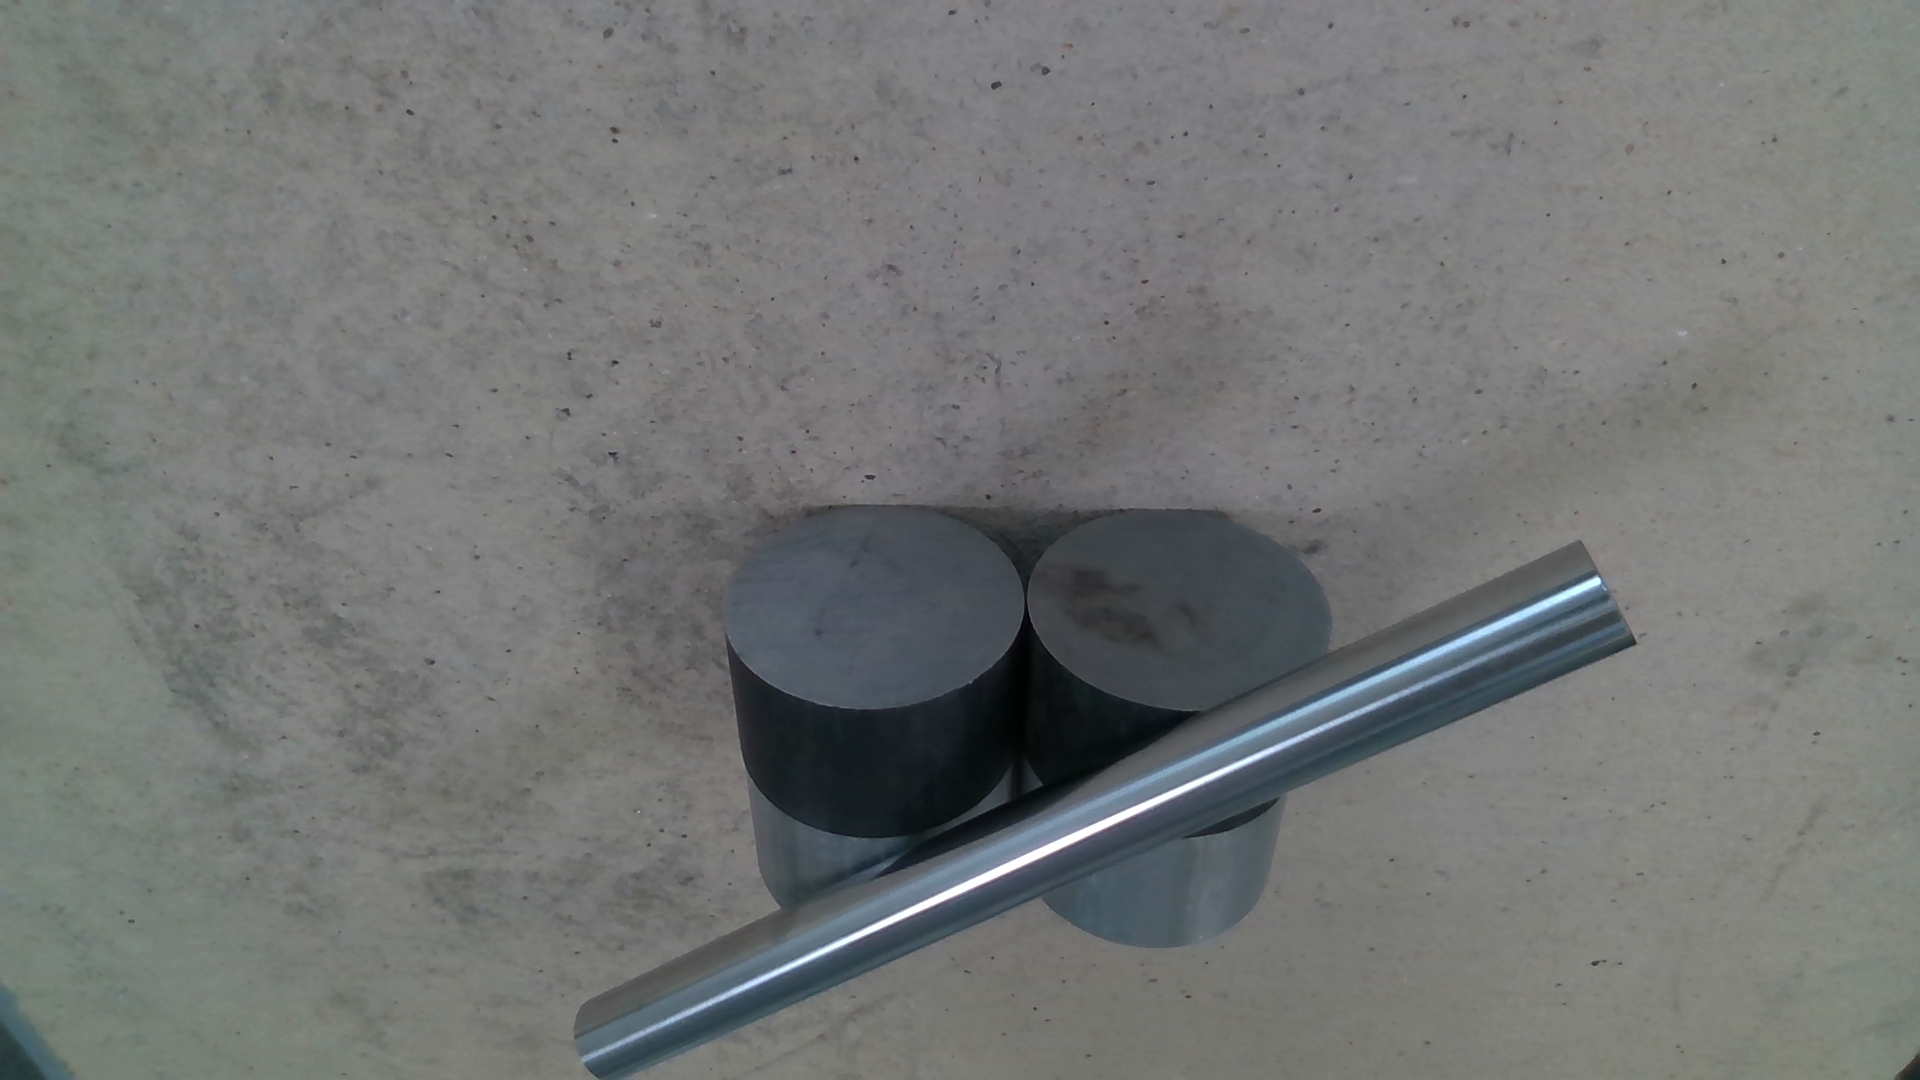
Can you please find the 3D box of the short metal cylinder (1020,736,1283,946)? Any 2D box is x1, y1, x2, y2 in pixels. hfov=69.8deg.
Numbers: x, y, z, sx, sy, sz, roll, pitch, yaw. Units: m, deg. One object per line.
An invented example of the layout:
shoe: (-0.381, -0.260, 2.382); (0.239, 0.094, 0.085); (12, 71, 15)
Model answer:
short metal cylinder: (0.057, 0.073, 0.415); (0.080, 0.080, 0.050); (1, 130, 0)

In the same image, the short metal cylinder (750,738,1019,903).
short metal cylinder: (-0.023, 0.073, 0.415); (0.080, 0.080, 0.050); (1, 130, 0)

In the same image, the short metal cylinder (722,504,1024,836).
short metal cylinder: (-0.023, 0.034, 0.382); (0.080, 0.080, 0.050); (1, 130, 0)

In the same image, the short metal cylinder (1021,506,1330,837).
short metal cylinder: (0.058, 0.035, 0.383); (0.080, 0.080, 0.050); (1, 130, 0)

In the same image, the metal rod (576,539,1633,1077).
metal rod: (0.016, 0.079, 0.351); (0.300, 0.025, 0.025); (-29, 124, 23)
